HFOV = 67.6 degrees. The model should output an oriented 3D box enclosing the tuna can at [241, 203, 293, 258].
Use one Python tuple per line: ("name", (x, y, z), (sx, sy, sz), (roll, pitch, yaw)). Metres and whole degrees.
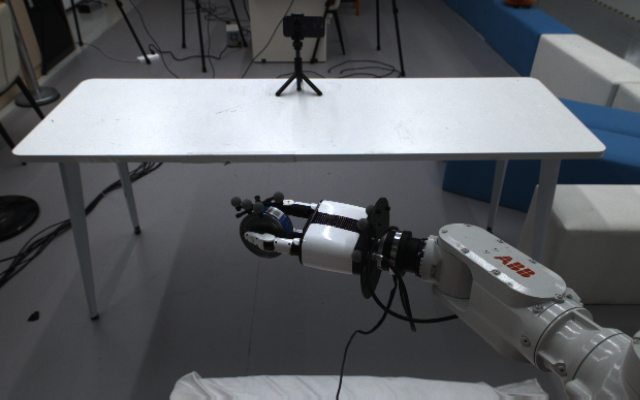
("tuna can", (-0.081, 0.053, 0.801), (0.085, 0.085, 0.034), (13, 28, 15))
